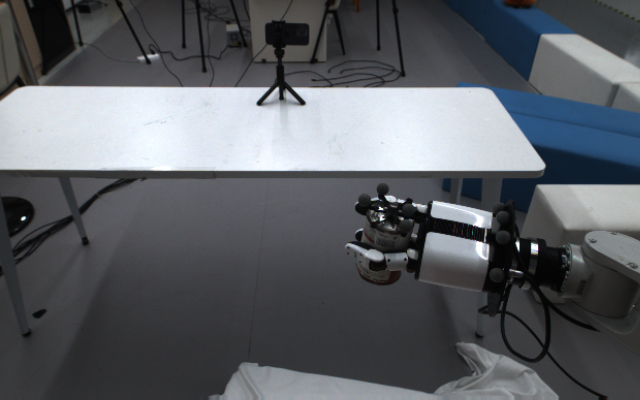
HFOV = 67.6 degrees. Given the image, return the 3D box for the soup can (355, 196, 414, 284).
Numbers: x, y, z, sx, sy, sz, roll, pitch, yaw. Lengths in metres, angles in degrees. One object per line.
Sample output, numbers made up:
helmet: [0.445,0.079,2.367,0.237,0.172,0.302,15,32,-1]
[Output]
soup can: [0.093,0.062,0.684,0.067,0.101,0.067,5,36,-3]
